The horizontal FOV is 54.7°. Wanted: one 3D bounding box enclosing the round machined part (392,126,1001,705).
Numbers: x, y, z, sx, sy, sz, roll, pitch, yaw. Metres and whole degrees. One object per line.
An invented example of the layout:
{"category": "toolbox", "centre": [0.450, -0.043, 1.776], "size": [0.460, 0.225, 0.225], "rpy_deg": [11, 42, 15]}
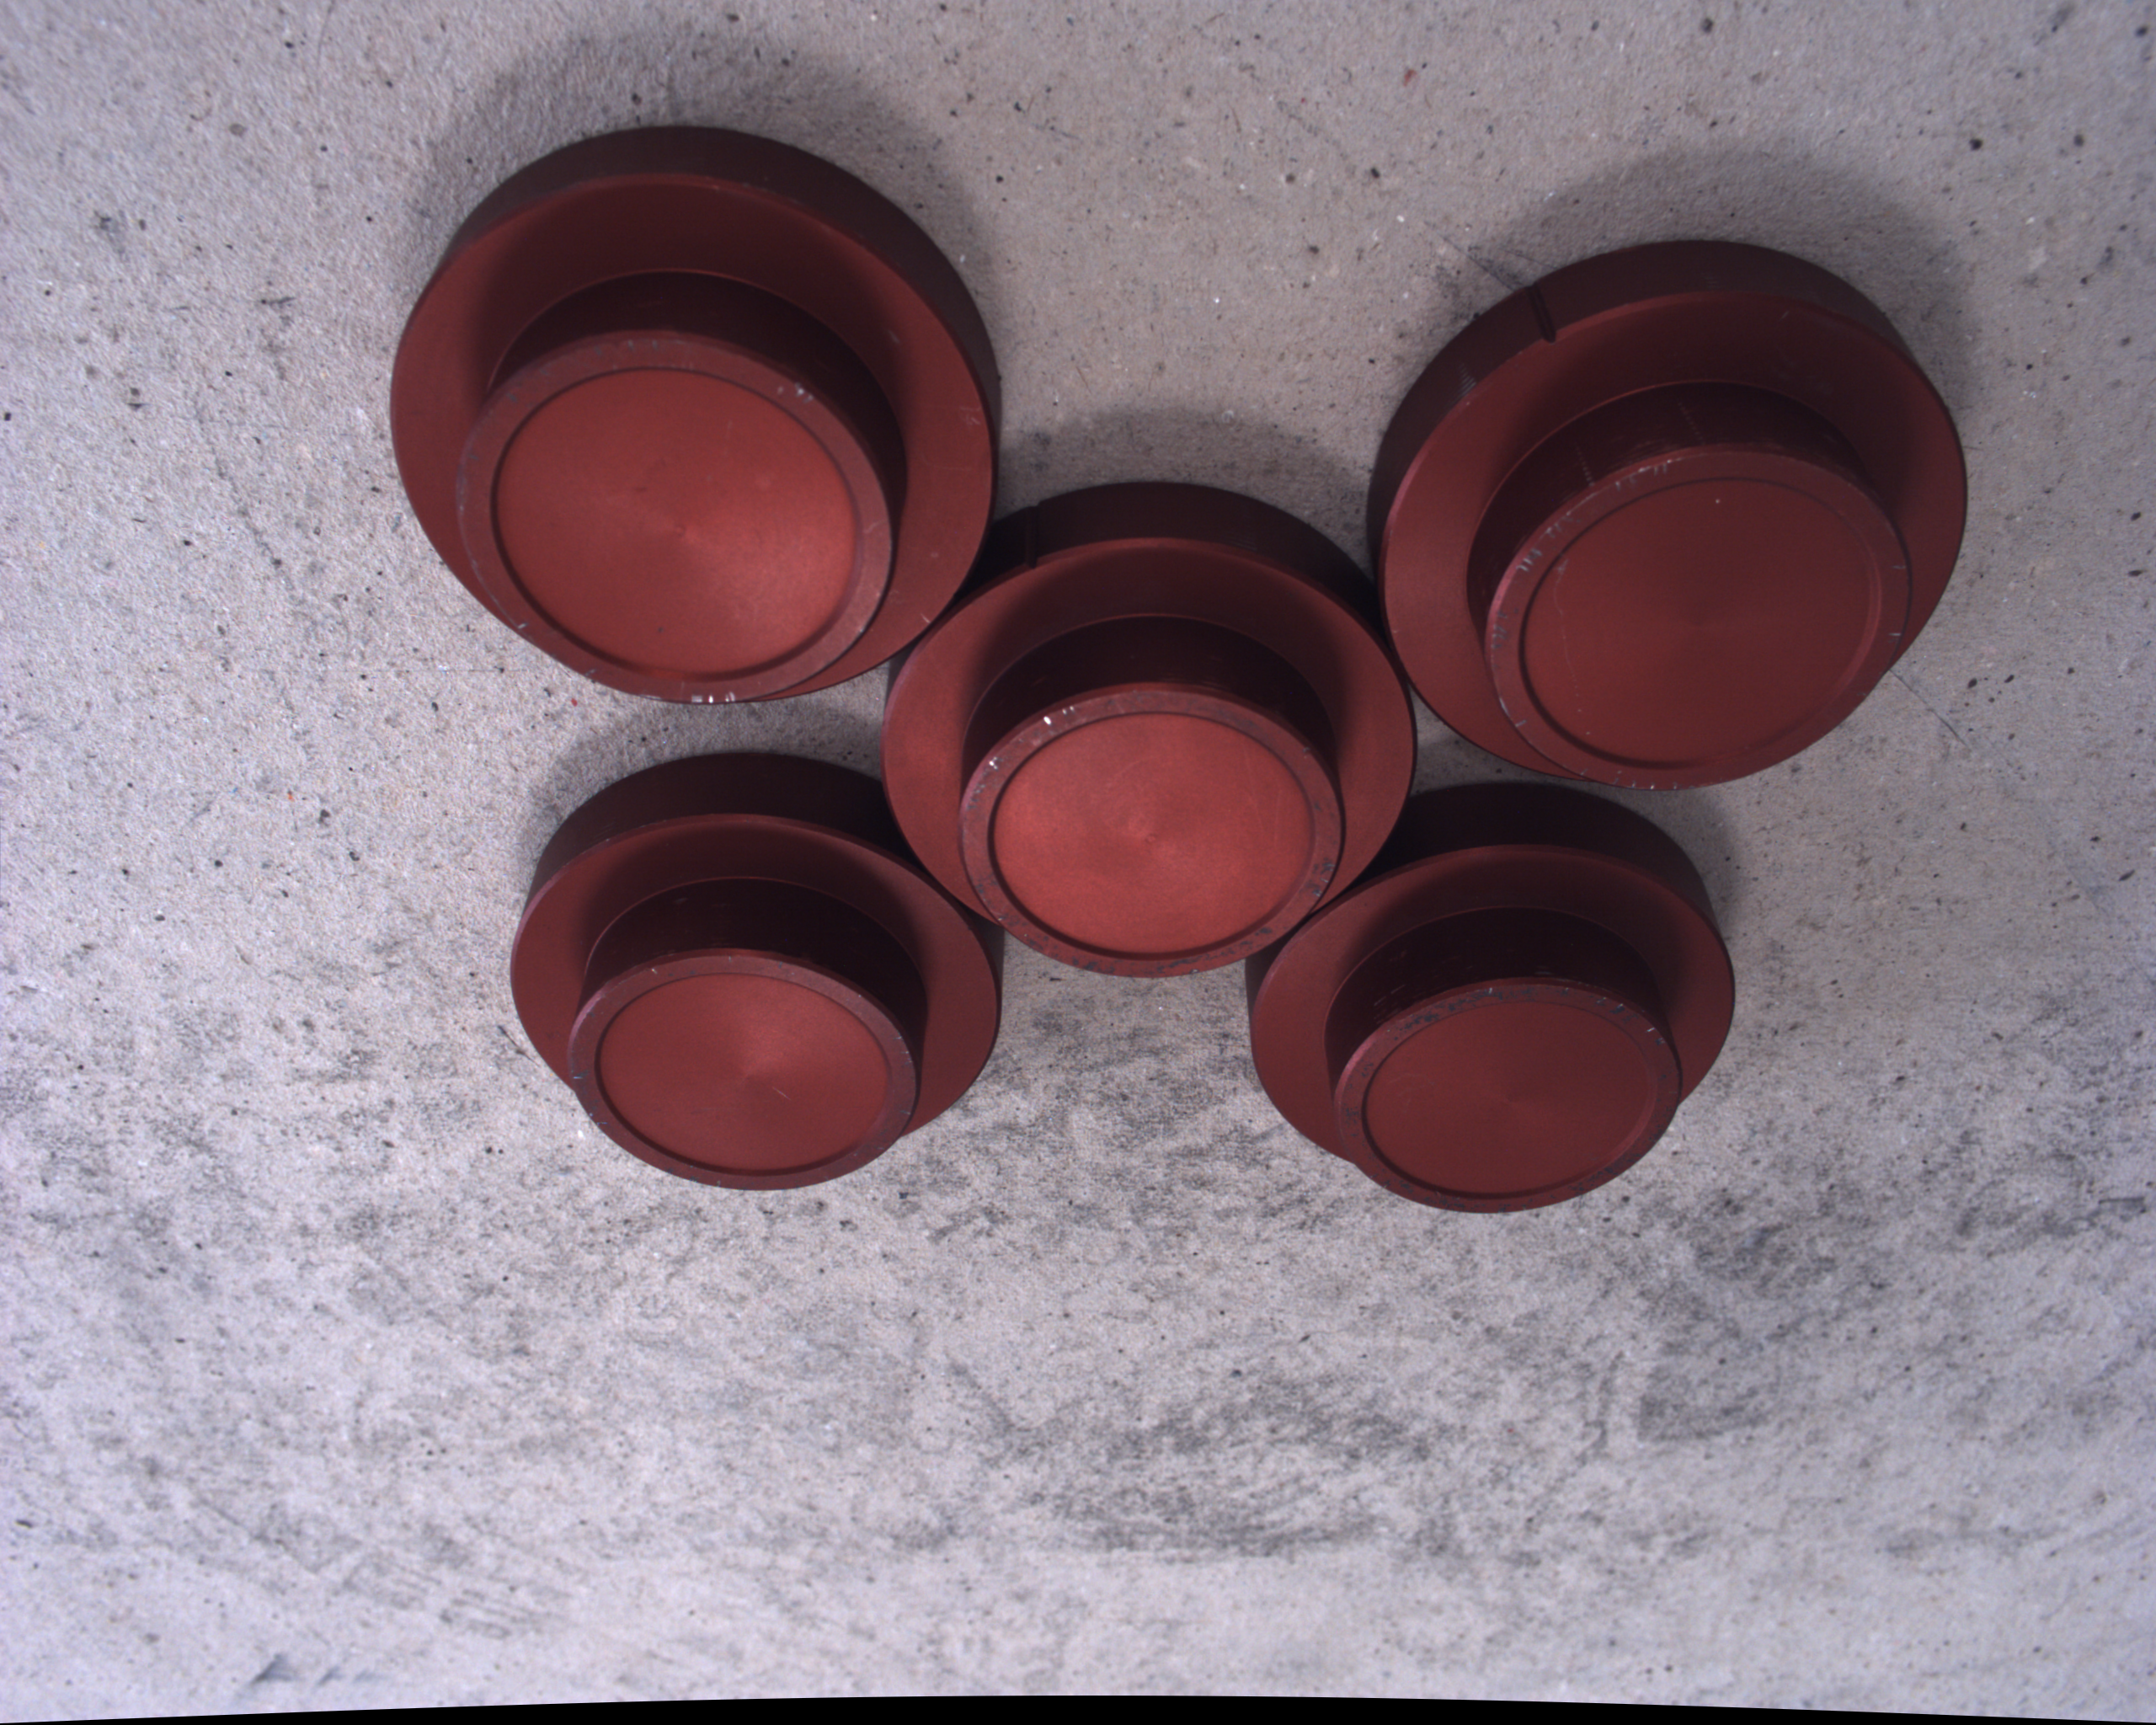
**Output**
{"category": "round machined part", "centre": [-0.062, -0.065, 0.341], "size": [0.099, 0.042, 0.097], "rpy_deg": [0, 130, 0]}

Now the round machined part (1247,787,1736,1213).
{"category": "round machined part", "centre": [0.085, 0.035, 0.428], "size": [0.099, 0.042, 0.097], "rpy_deg": [0, 132, 1]}

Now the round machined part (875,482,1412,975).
{"category": "round machined part", "centre": [0.012, -0.017, 0.383], "size": [0.099, 0.042, 0.097], "rpy_deg": [0, 132, 1]}

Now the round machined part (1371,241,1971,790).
{"category": "round machined part", "centre": [0.101, -0.051, 0.354], "size": [0.099, 0.042, 0.097], "rpy_deg": [0, 132, 1]}

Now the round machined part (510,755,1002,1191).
{"category": "round machined part", "centre": [-0.065, 0.029, 0.421], "size": [0.099, 0.042, 0.097], "rpy_deg": [-1, 131, 0]}
